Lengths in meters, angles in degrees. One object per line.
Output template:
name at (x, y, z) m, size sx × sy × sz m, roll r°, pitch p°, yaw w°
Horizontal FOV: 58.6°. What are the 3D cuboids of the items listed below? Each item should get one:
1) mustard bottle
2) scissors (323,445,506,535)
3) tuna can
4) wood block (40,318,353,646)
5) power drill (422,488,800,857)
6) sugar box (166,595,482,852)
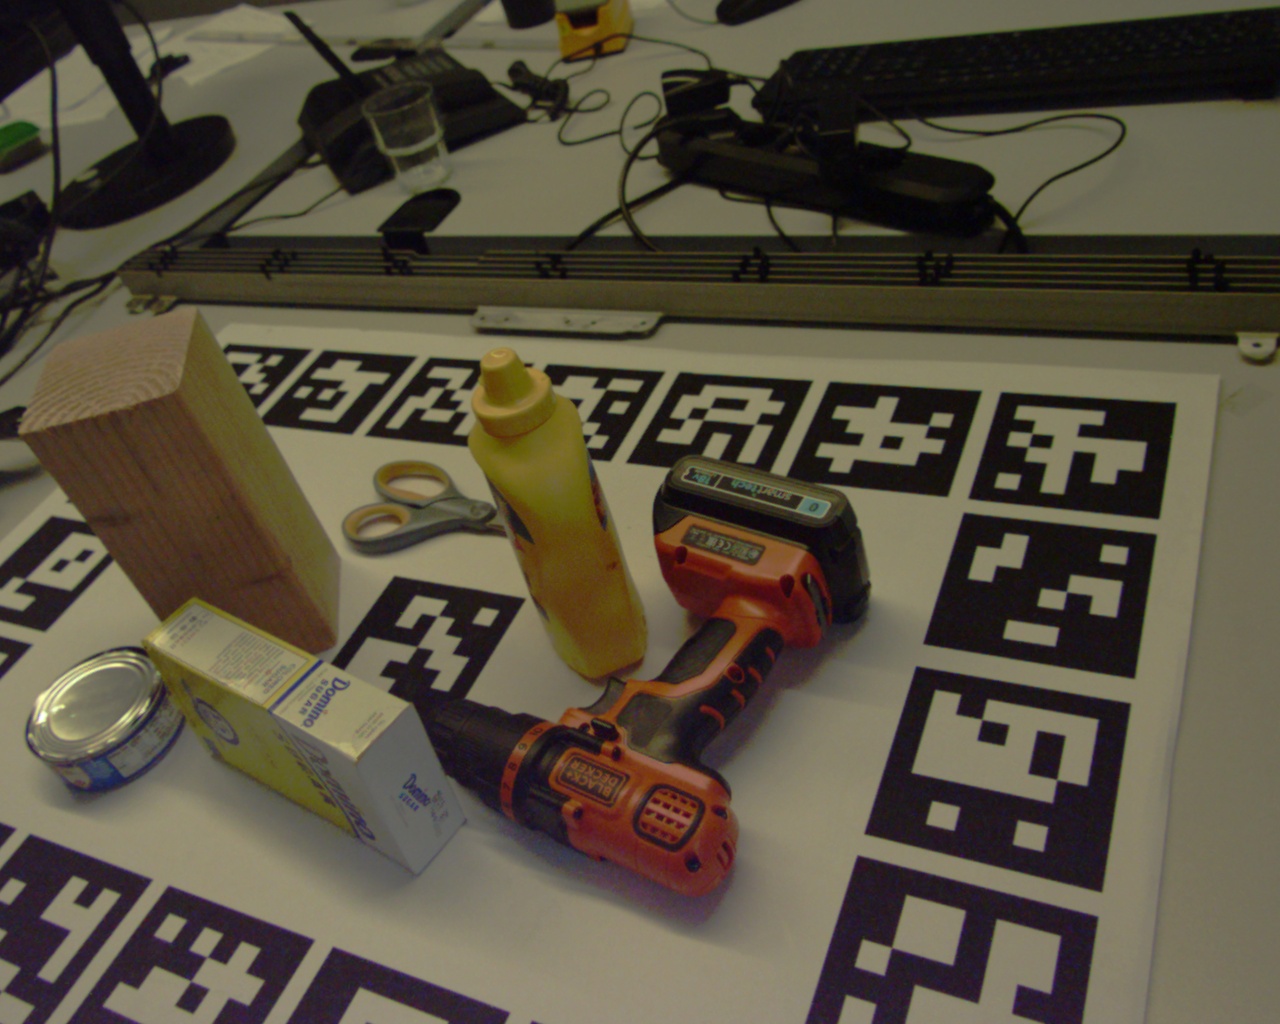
mustard bottle at (-0.049, -0.005, 0.639) m, size 0.058 × 0.190 × 0.097 m, roll -23°, pitch 43°, yaw -3°
scissors at (-0.134, -0.008, 0.790) m, size 0.205 × 0.016 × 0.087 m, roll 8°, pitch 45°, yaw 27°
tuna can at (-0.322, 0.119, 0.712) m, size 0.086 × 0.033 × 0.086 m, roll -11°, pitch 44°, yaw 9°
wood block at (-0.263, -0.005, 0.710) m, size 0.091 × 0.204 × 0.090 m, roll -15°, pitch 43°, yaw 5°
power drill at (-0.011, 0.077, 0.626) m, size 0.187 × 0.057 × 0.186 m, roll 18°, pitch 61°, yaw 34°
sugar box at (-0.175, 0.113, 0.627) m, size 0.179 × 0.092 × 0.045 m, roll 18°, pitch 50°, yaw 32°
